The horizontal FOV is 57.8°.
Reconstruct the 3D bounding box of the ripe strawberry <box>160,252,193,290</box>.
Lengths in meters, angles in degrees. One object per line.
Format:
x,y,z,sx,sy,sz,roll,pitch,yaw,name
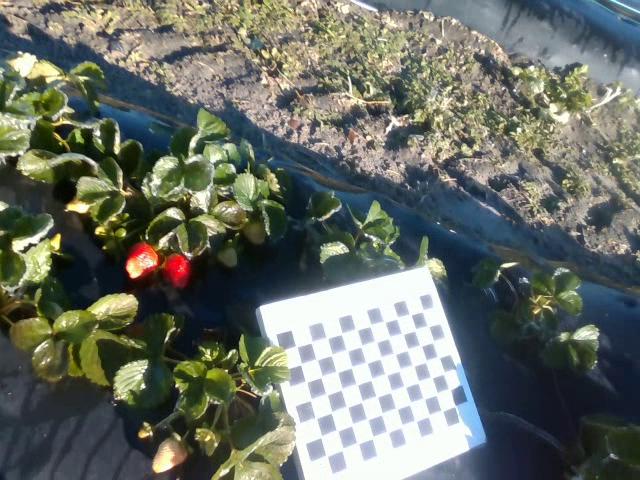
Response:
-0.221,0.045,0.881,0.043,0.059,0.040,-11,-20,-26,ripe strawberry

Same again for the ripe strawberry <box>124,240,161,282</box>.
-0.274,0.036,0.873,0.052,0.070,0.040,37,-37,-13,ripe strawberry
